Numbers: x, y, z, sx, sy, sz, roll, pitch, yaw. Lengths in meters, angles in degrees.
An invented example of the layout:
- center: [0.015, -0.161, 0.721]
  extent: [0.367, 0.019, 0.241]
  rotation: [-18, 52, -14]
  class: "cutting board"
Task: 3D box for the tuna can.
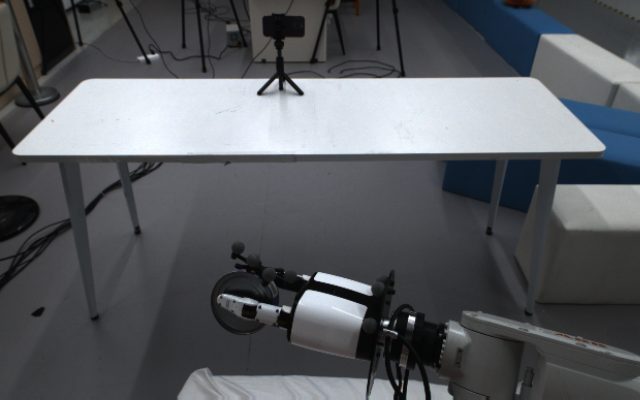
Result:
- center: [-0.096, 0.134, 0.643]
  extent: [0.085, 0.085, 0.034]
  rotation: [10, 4, 11]
  class: "tuna can"
